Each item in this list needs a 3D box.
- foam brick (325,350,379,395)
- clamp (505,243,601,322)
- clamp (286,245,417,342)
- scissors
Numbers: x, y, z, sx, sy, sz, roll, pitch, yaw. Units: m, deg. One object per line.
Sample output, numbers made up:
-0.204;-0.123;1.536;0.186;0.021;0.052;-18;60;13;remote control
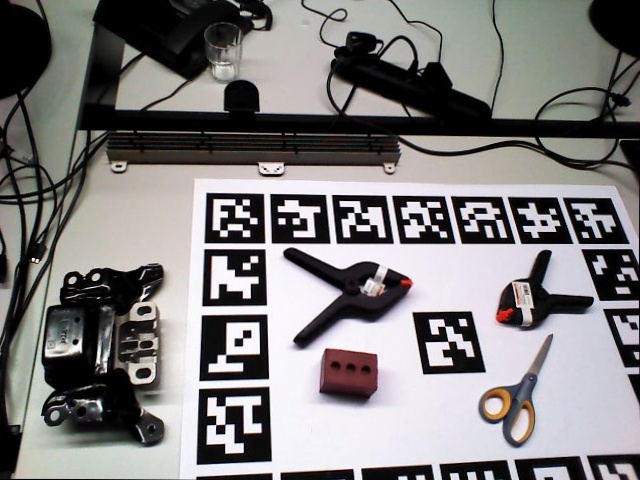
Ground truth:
0.048;0.192;0.752;0.078;0.051;0.052;5;62;0;foam brick
0.379;0.086;0.867;0.164;0.037;0.121;-26;75;-19;clamp
0.055;0.075;0.823;0.203;0.037;0.164;-3;59;-11;clamp
0.326;0.215;0.793;0.088;0.016;0.201;38;62;4;scissors
